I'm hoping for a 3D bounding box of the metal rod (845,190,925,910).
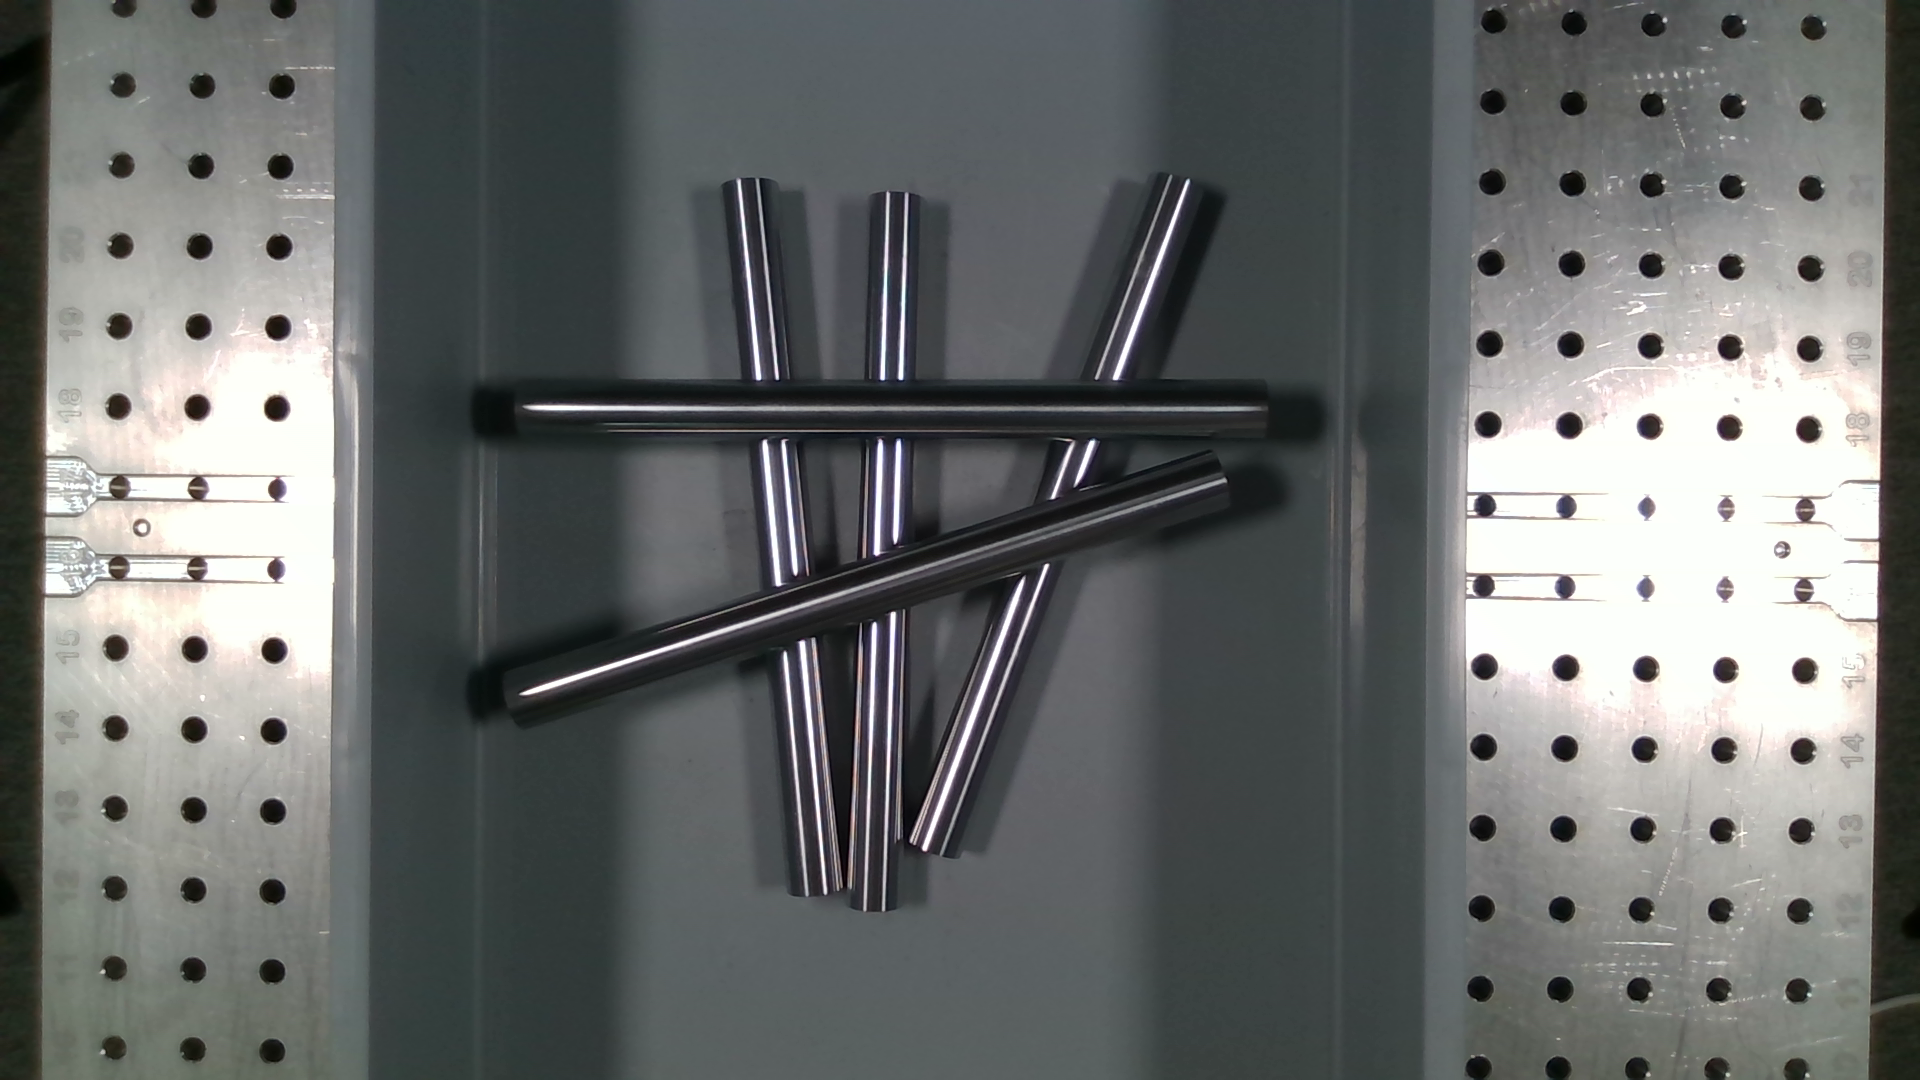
[{"bbox_3d":[-0.032,0.005,0.585,0.025,0.025,0.300,2,91,0],"label":"metal rod"}]

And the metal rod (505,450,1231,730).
[{"bbox_3d":[-0.037,0.020,0.561,0.300,0.025,0.025,-18,90,0],"label":"metal rod"}]

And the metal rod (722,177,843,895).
[{"bbox_3d":[-0.076,-0.001,0.586,0.025,0.025,0.300,-5,91,0],"label":"metal rod"}]

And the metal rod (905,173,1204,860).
[{"bbox_3d":[0.040,-0.010,0.585,0.025,0.025,0.300,20,90,0],"label":"metal rod"}]

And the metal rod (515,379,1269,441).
[{"bbox_3d":[-0.027,-0.053,0.560,0.300,0.025,0.025,0,90,0],"label":"metal rod"}]
